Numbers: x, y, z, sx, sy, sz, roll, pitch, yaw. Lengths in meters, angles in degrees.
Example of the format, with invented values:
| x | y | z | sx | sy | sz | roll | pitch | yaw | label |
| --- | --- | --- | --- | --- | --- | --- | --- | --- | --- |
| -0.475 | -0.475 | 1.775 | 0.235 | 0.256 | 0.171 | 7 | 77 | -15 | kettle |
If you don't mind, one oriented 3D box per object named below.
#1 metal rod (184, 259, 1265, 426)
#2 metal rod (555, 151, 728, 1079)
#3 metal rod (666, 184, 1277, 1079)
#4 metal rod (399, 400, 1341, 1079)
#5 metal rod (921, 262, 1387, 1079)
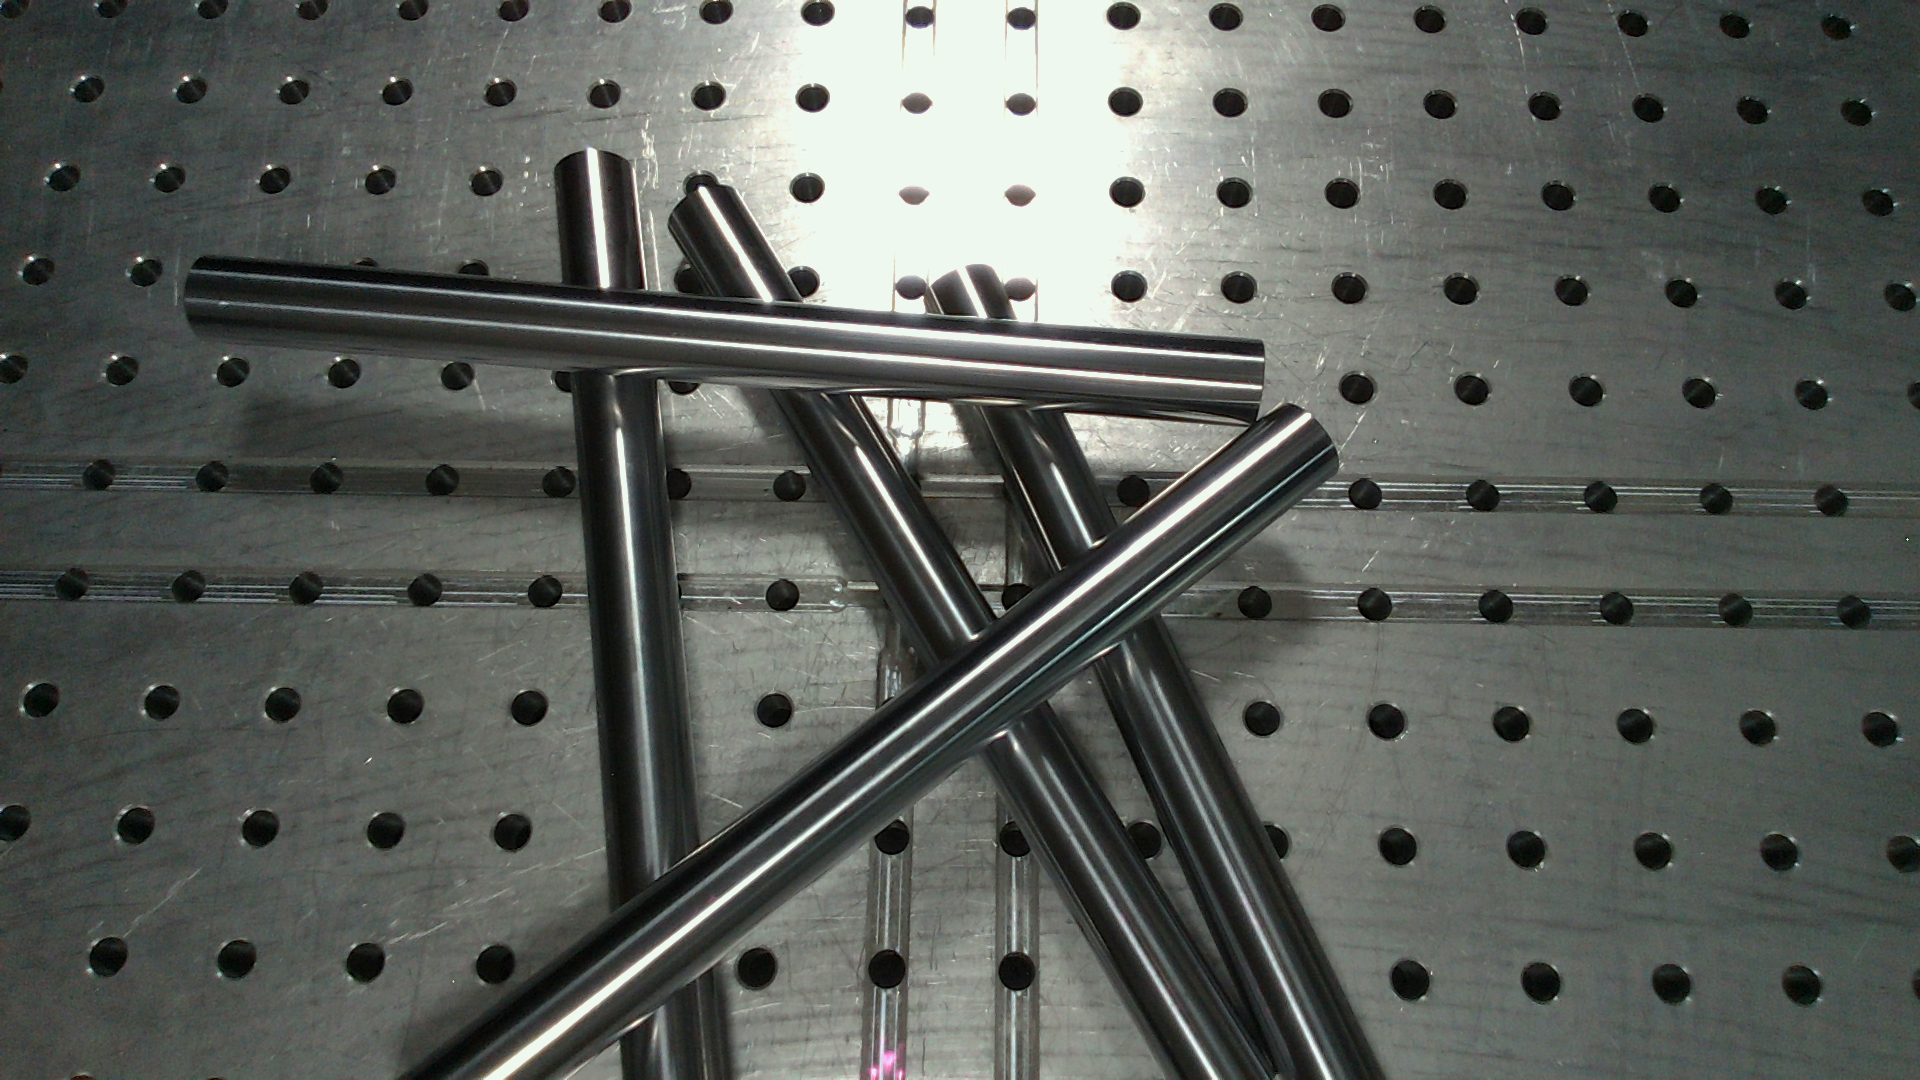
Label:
| x | y | z | sx | sy | sz | roll | pitch | yaw | label |
| --- | --- | --- | --- | --- | --- | --- | --- | --- | --- |
| -0.066 | -0.056 | 0.391 | 0.300 | 0.025 | 0.025 | 5 | 70 | 2 | metal rod |
| -0.092 | 0.023 | 0.388 | 0.025 | 0.025 | 0.300 | -9 | 70 | -3 | metal rod |
| -0.006 | 0.018 | 0.390 | 0.025 | 0.025 | 0.300 | -29 | 72 | -10 | metal rod |
| -0.021 | 0.059 | 0.348 | 0.300 | 0.025 | 0.025 | -37 | 74 | -12 | metal rod |
| 0.057 | 0.052 | 0.378 | 0.025 | 0.025 | 0.300 | -21 | 71 | -7 | metal rod |
